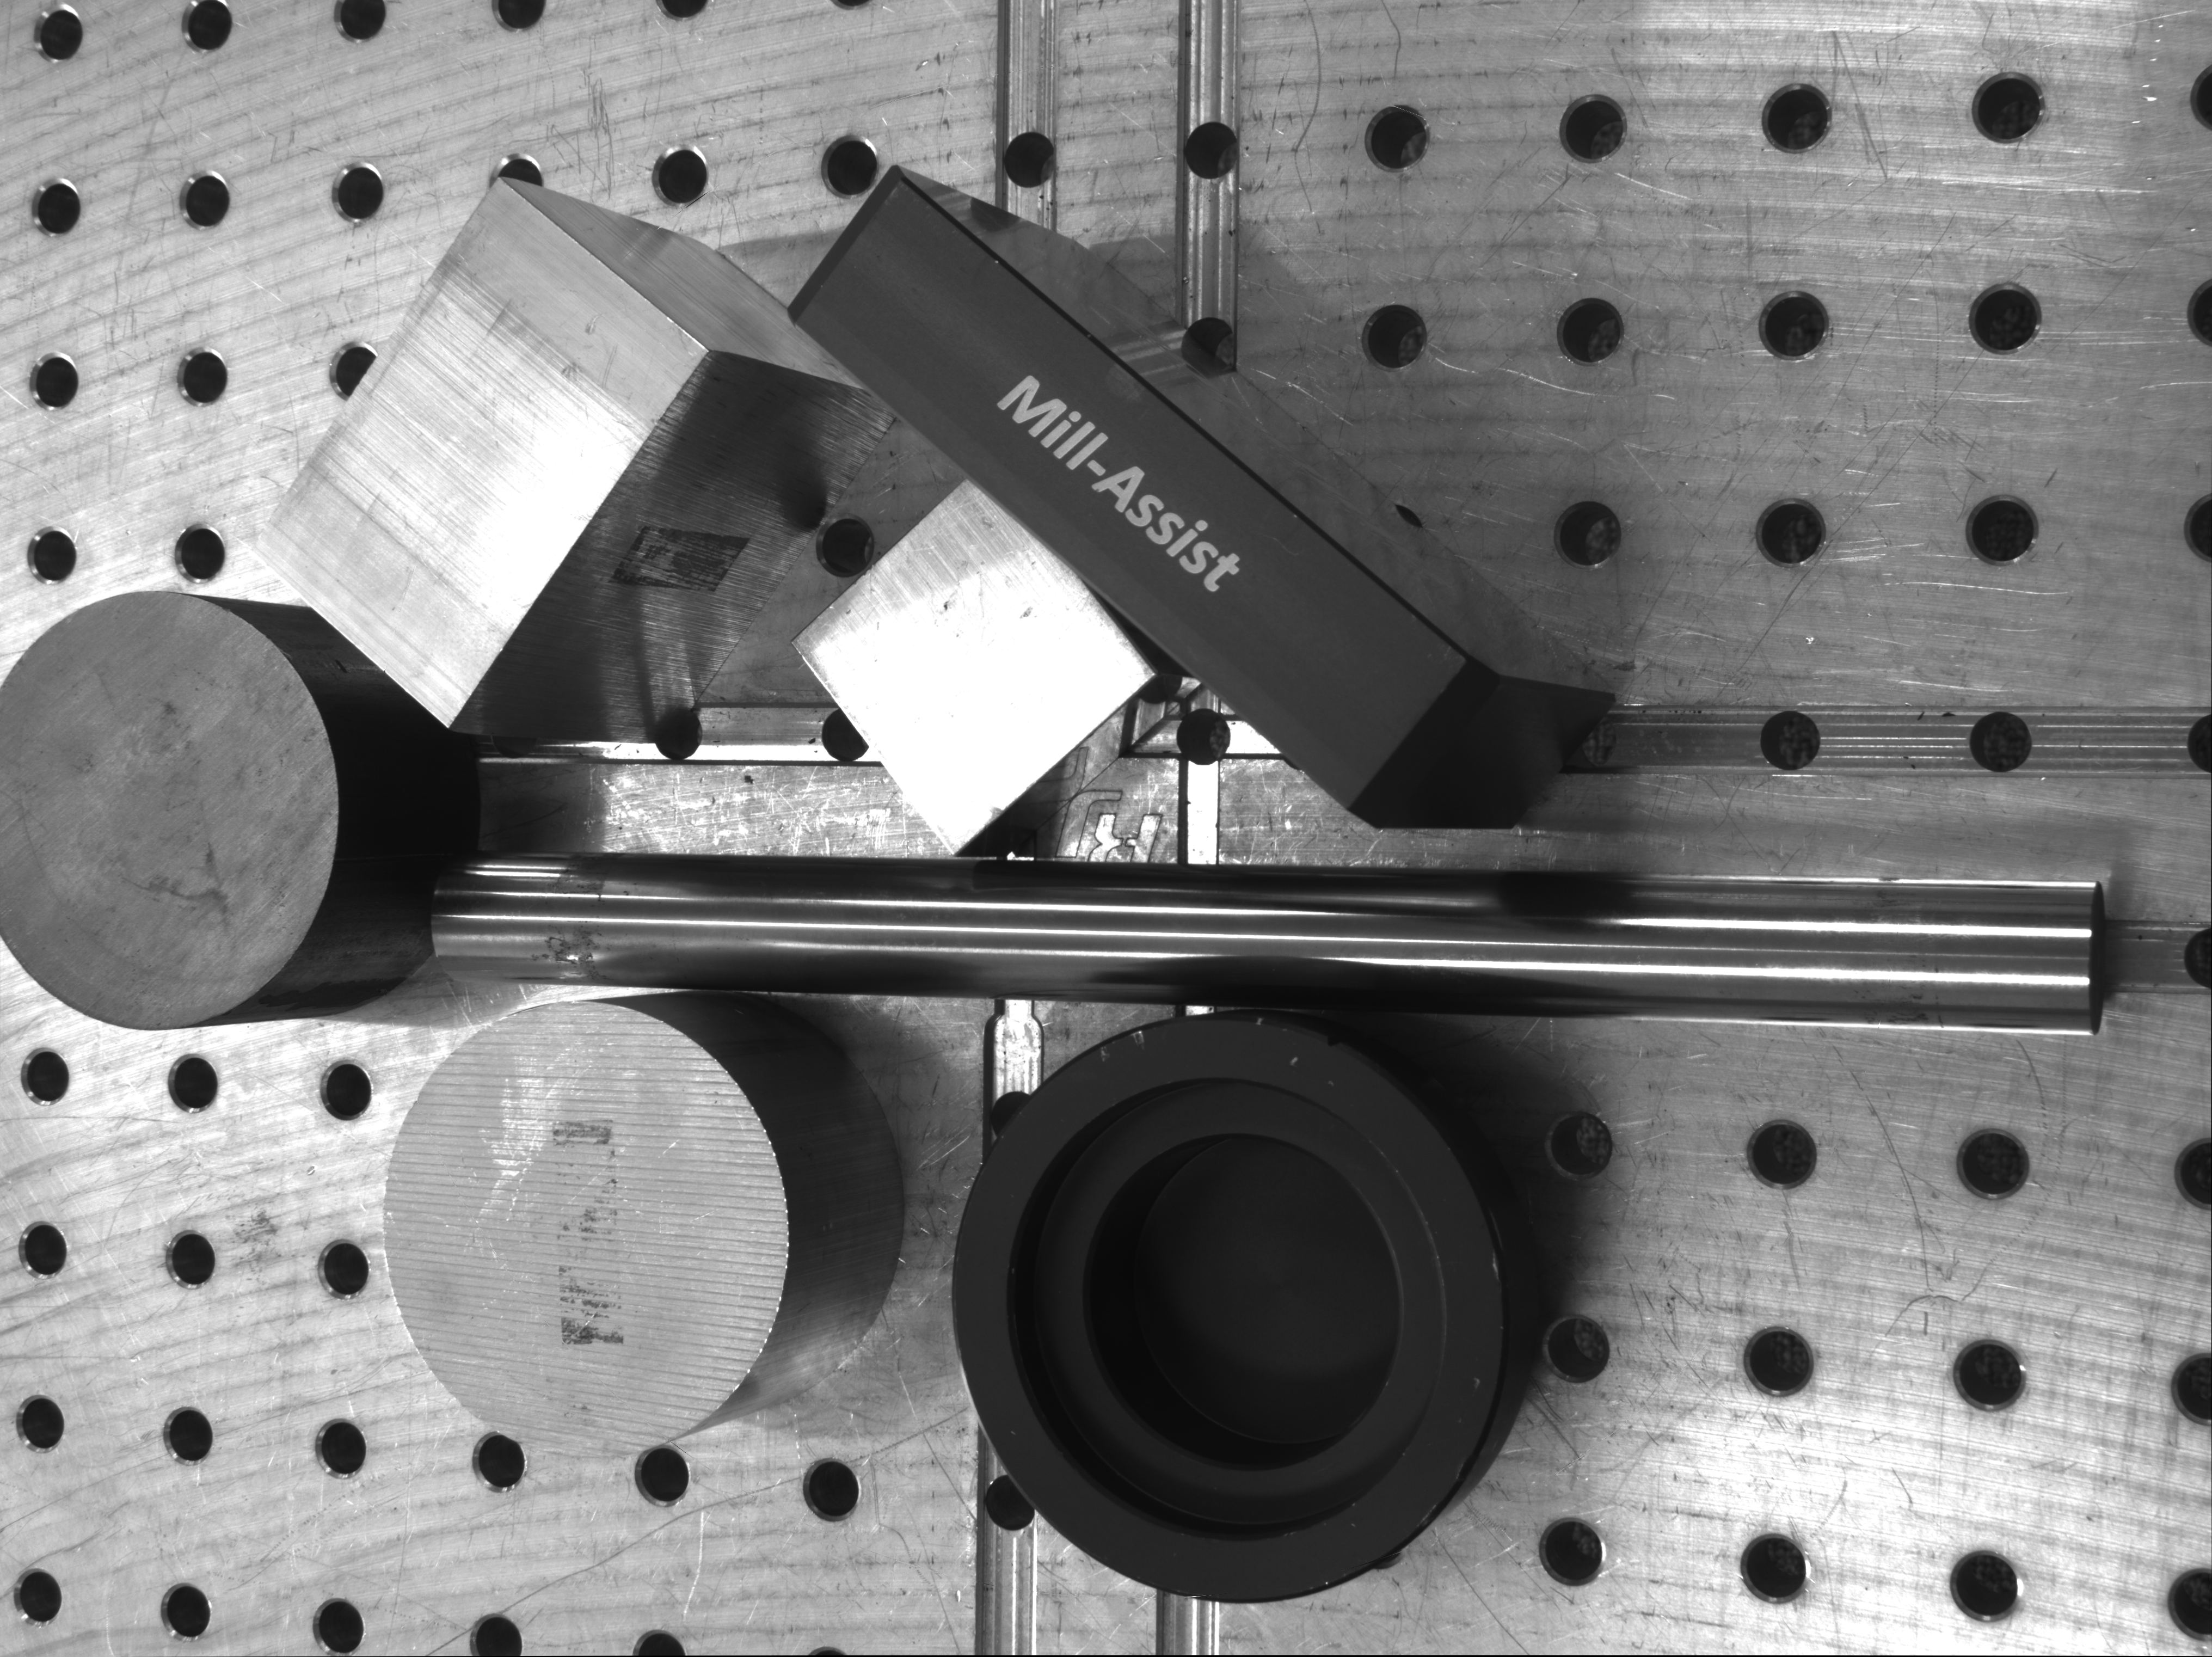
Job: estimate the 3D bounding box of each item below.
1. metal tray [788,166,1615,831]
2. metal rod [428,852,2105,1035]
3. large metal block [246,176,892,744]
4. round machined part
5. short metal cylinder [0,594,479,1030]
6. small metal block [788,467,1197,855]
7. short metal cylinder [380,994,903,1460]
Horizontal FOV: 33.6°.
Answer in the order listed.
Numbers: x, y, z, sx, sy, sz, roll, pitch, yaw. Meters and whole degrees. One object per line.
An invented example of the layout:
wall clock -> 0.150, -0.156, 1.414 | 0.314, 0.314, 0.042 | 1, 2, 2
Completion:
metal tray -> 0.018, -0.052, 0.607 | 0.130, 0.090, 0.030 | 42, 103, 15
metal rod -> 0.019, 0.019, 0.642 | 0.299, 0.025, 0.025 | 1, 90, 20
large metal block -> -0.093, -0.063, 0.653 | 0.050, 0.080, 0.080 | 40, 103, 15
round machined part -> 0.027, 0.080, 0.630 | 0.098, 0.042, 0.098 | 0, 90, 20
short metal cylinder -> -0.167, -0.003, 0.695 | 0.080, 0.050, 0.080 | 0, 90, 20
small metal block -> -0.020, -0.031, 0.656 | 0.050, 0.025, 0.050 | -41, 77, 15
short metal cylinder -> -0.084, 0.070, 0.665 | 0.080, 0.050, 0.080 | 0, 90, 20
